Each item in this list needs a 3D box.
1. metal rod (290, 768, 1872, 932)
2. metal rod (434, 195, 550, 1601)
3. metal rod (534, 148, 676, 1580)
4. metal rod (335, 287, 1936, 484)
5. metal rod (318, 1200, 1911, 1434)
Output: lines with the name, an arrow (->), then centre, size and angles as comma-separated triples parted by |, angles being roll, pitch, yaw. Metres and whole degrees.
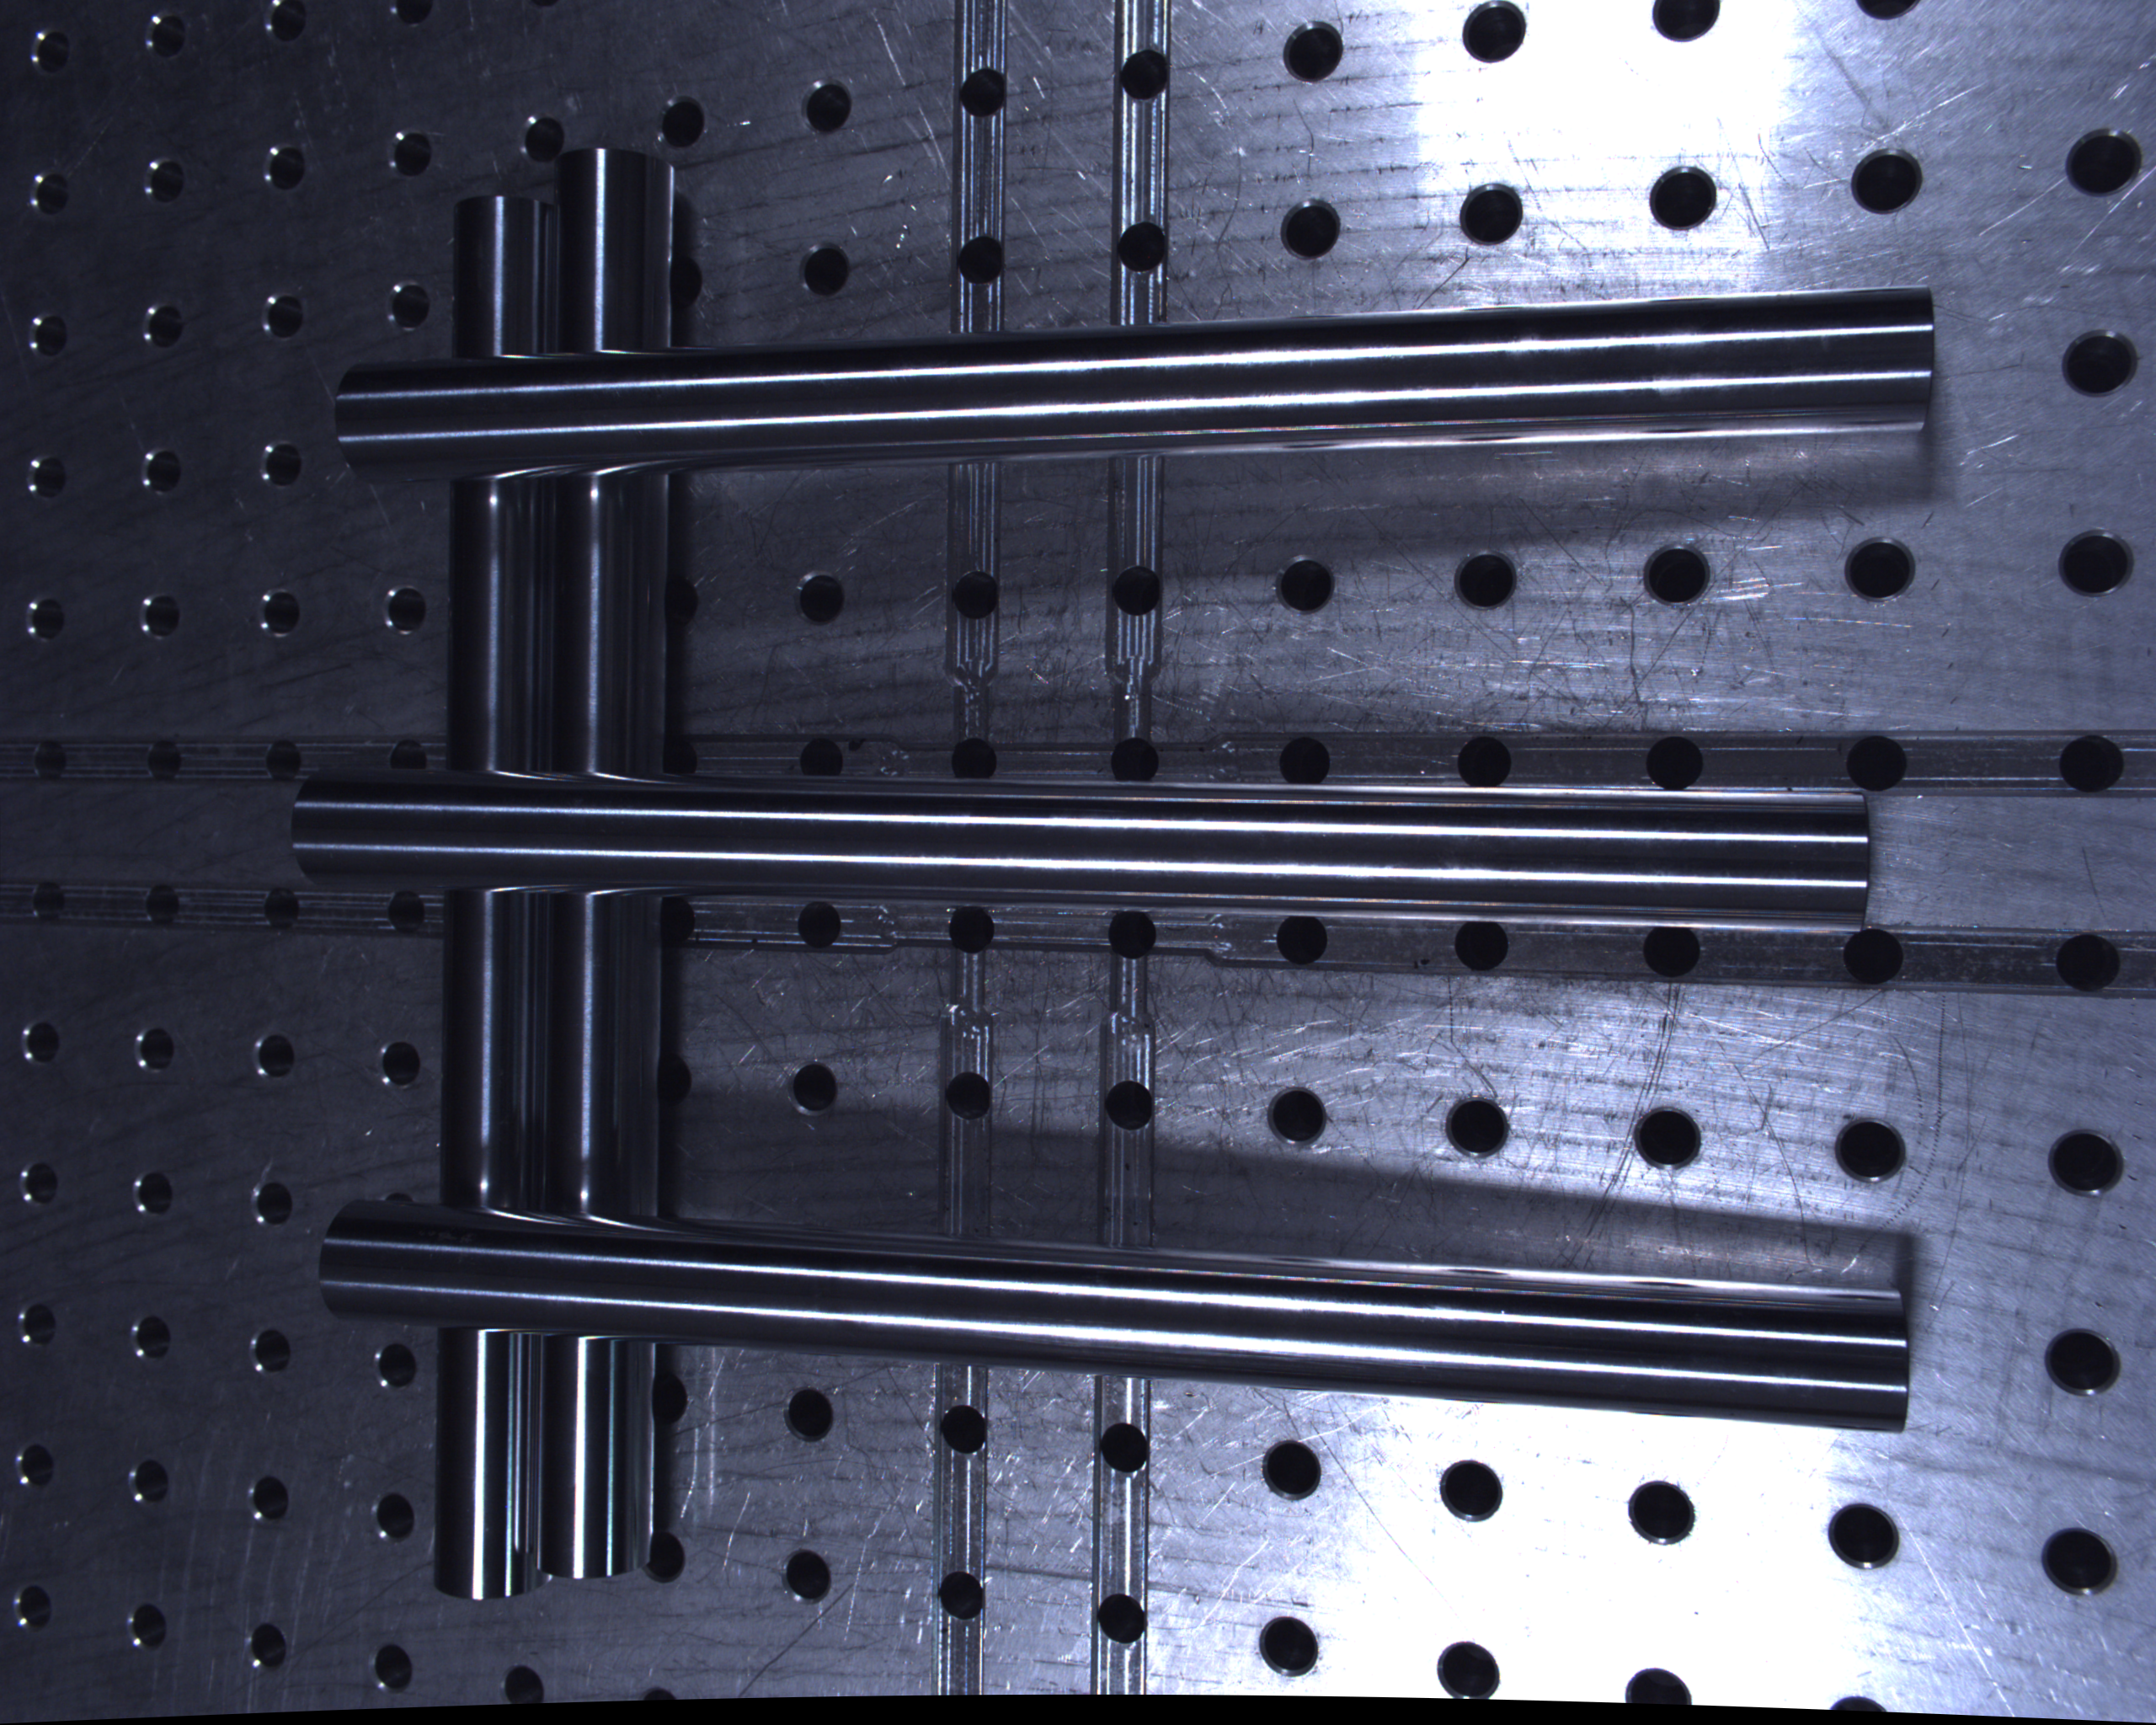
metal rod -> -0.010, -0.004, 0.399 | 0.301, 0.025, 0.025 | 1, 91, 13
metal rod -> -0.125, 0.008, 0.454 | 0.025, 0.025, 0.298 | 1, 90, 19
metal rod -> -0.101, 0.000, 0.446 | 0.025, 0.025, 0.298 | 1, 90, 19
metal rod -> 0.000, -0.089, 0.396 | 0.301, 0.025, 0.025 | 1, 90, 13
metal rod -> -0.003, 0.085, 0.397 | 0.301, 0.025, 0.025 | 1, 90, 13
